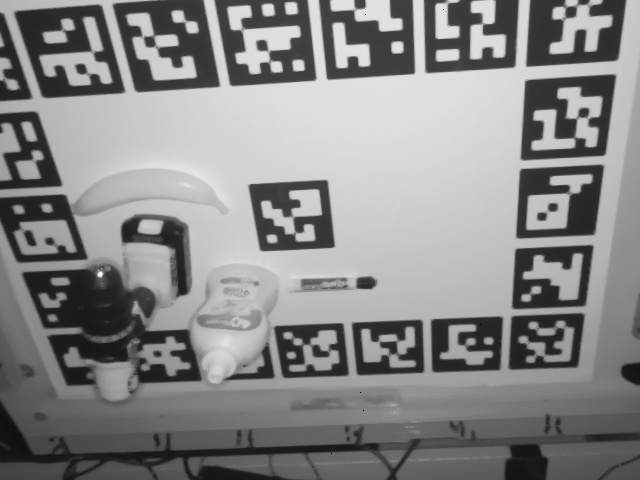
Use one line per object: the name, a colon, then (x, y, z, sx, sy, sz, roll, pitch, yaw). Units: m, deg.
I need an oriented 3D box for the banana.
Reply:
banana: (-0.205, -0.064, 0.892, 0.198, 0.039, 0.073, 4, 116, 0)

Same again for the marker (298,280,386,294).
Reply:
marker: (0.030, 0.065, 0.954, 0.121, 0.020, 0.019, -1, 117, 4)

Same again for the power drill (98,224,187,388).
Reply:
power drill: (-0.215, 0.059, 0.849, 0.057, 0.189, 0.182, 10, 121, 1)

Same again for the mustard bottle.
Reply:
mustard bottle: (-0.103, 0.104, 0.884, 0.096, 0.193, 0.058, 8, 119, 2)
